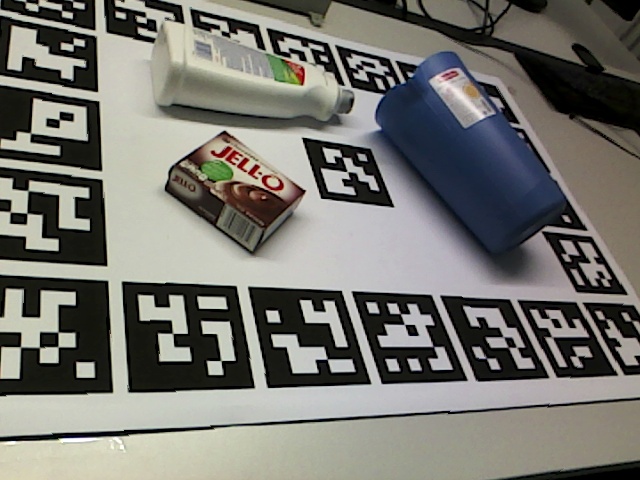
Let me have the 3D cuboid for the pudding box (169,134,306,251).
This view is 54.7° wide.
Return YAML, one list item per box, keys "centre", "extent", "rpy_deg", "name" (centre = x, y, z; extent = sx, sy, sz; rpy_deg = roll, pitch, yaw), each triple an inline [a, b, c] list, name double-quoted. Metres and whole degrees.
- centre: [-0.083, -0.051, 0.629]
  extent: [0.114, 0.039, 0.090]
  rpy_deg: [39, 37, 4]
  name: "pudding box"

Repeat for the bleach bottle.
- centre: [-0.068, -0.187, 0.753]
  extent: [0.249, 0.068, 0.103]
  rpy_deg: [4, 55, -31]
  name: "bleach bottle"

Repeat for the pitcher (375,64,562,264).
- centre: [0.192, -0.092, 0.799]
  extent: [0.243, 0.133, 0.188]
  rpy_deg: [56, 13, 16]
  name: "pitcher"
